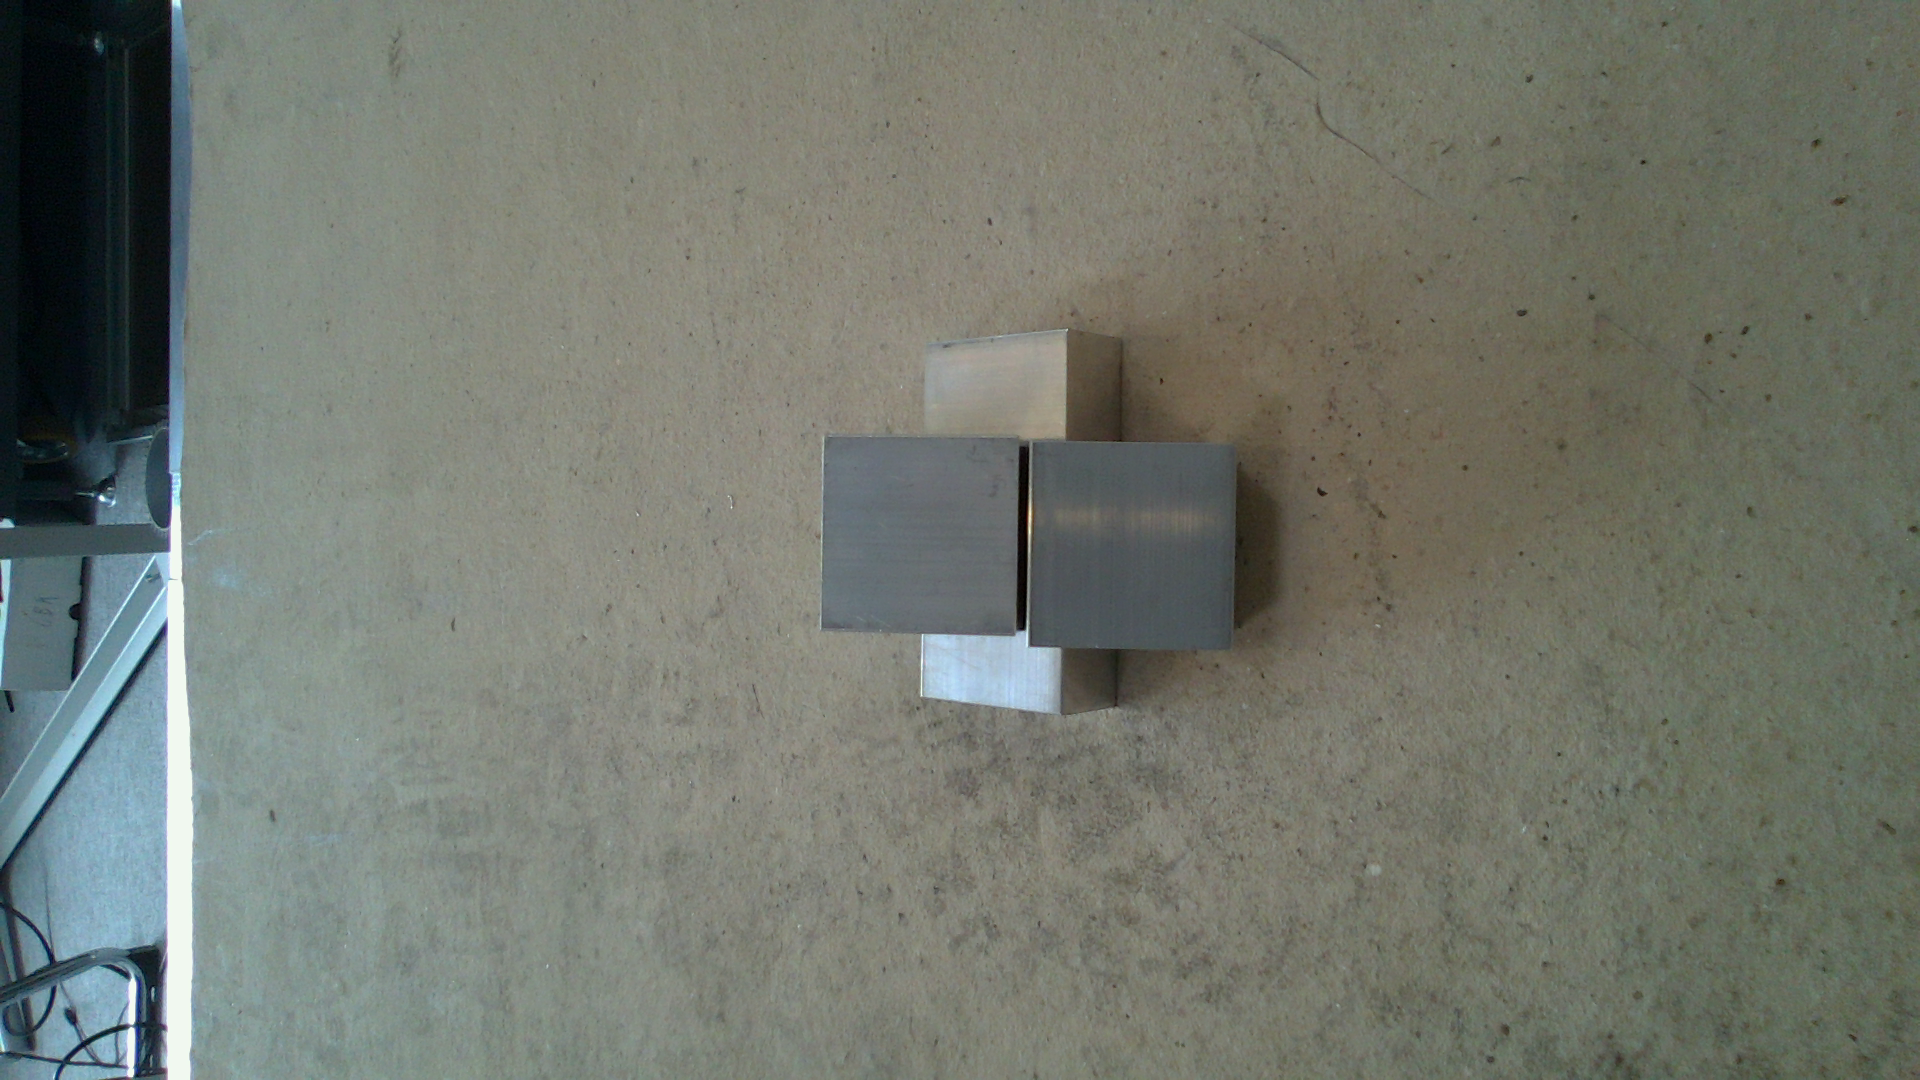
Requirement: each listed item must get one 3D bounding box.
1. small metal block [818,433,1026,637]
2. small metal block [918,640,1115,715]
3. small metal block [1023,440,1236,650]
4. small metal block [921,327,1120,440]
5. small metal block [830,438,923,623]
[{"bbox_3d":[-0.009,-0.002,0.355,0.050,0.025,0.050,1,91,9],"label":"small metal block"},{"bbox_3d":[0.015,0.020,0.382,0.050,0.025,0.050,1,91,40],"label":"small metal block"},{"bbox_3d":[0.041,0.001,0.344,0.050,0.025,0.050,1,91,0],"label":"small metal block"},{"bbox_3d":[0.016,-0.030,0.381,0.050,0.025,0.050,1,91,40],"label":"small metal block"},{"bbox_3d":[-0.023,-0.003,0.397,0.025,0.050,0.050,0,91,-2],"label":"small metal block"}]
